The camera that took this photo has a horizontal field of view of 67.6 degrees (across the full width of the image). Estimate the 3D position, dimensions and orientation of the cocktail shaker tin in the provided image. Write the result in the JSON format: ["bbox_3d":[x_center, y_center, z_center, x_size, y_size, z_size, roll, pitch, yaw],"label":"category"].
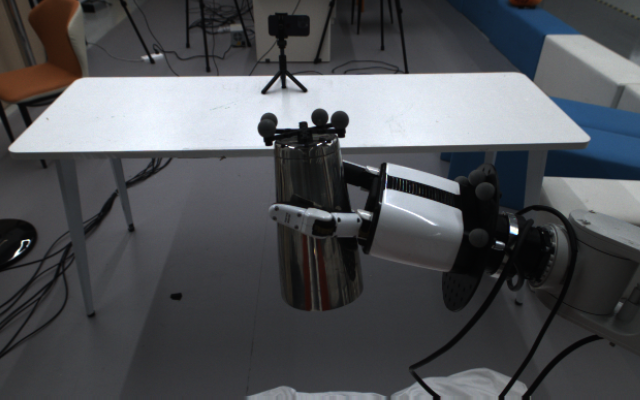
[{"bbox_3d":[-0.004,0.020,0.511,0.093,0.170,0.093,-6,19,2],"label":"cocktail shaker tin"}]
